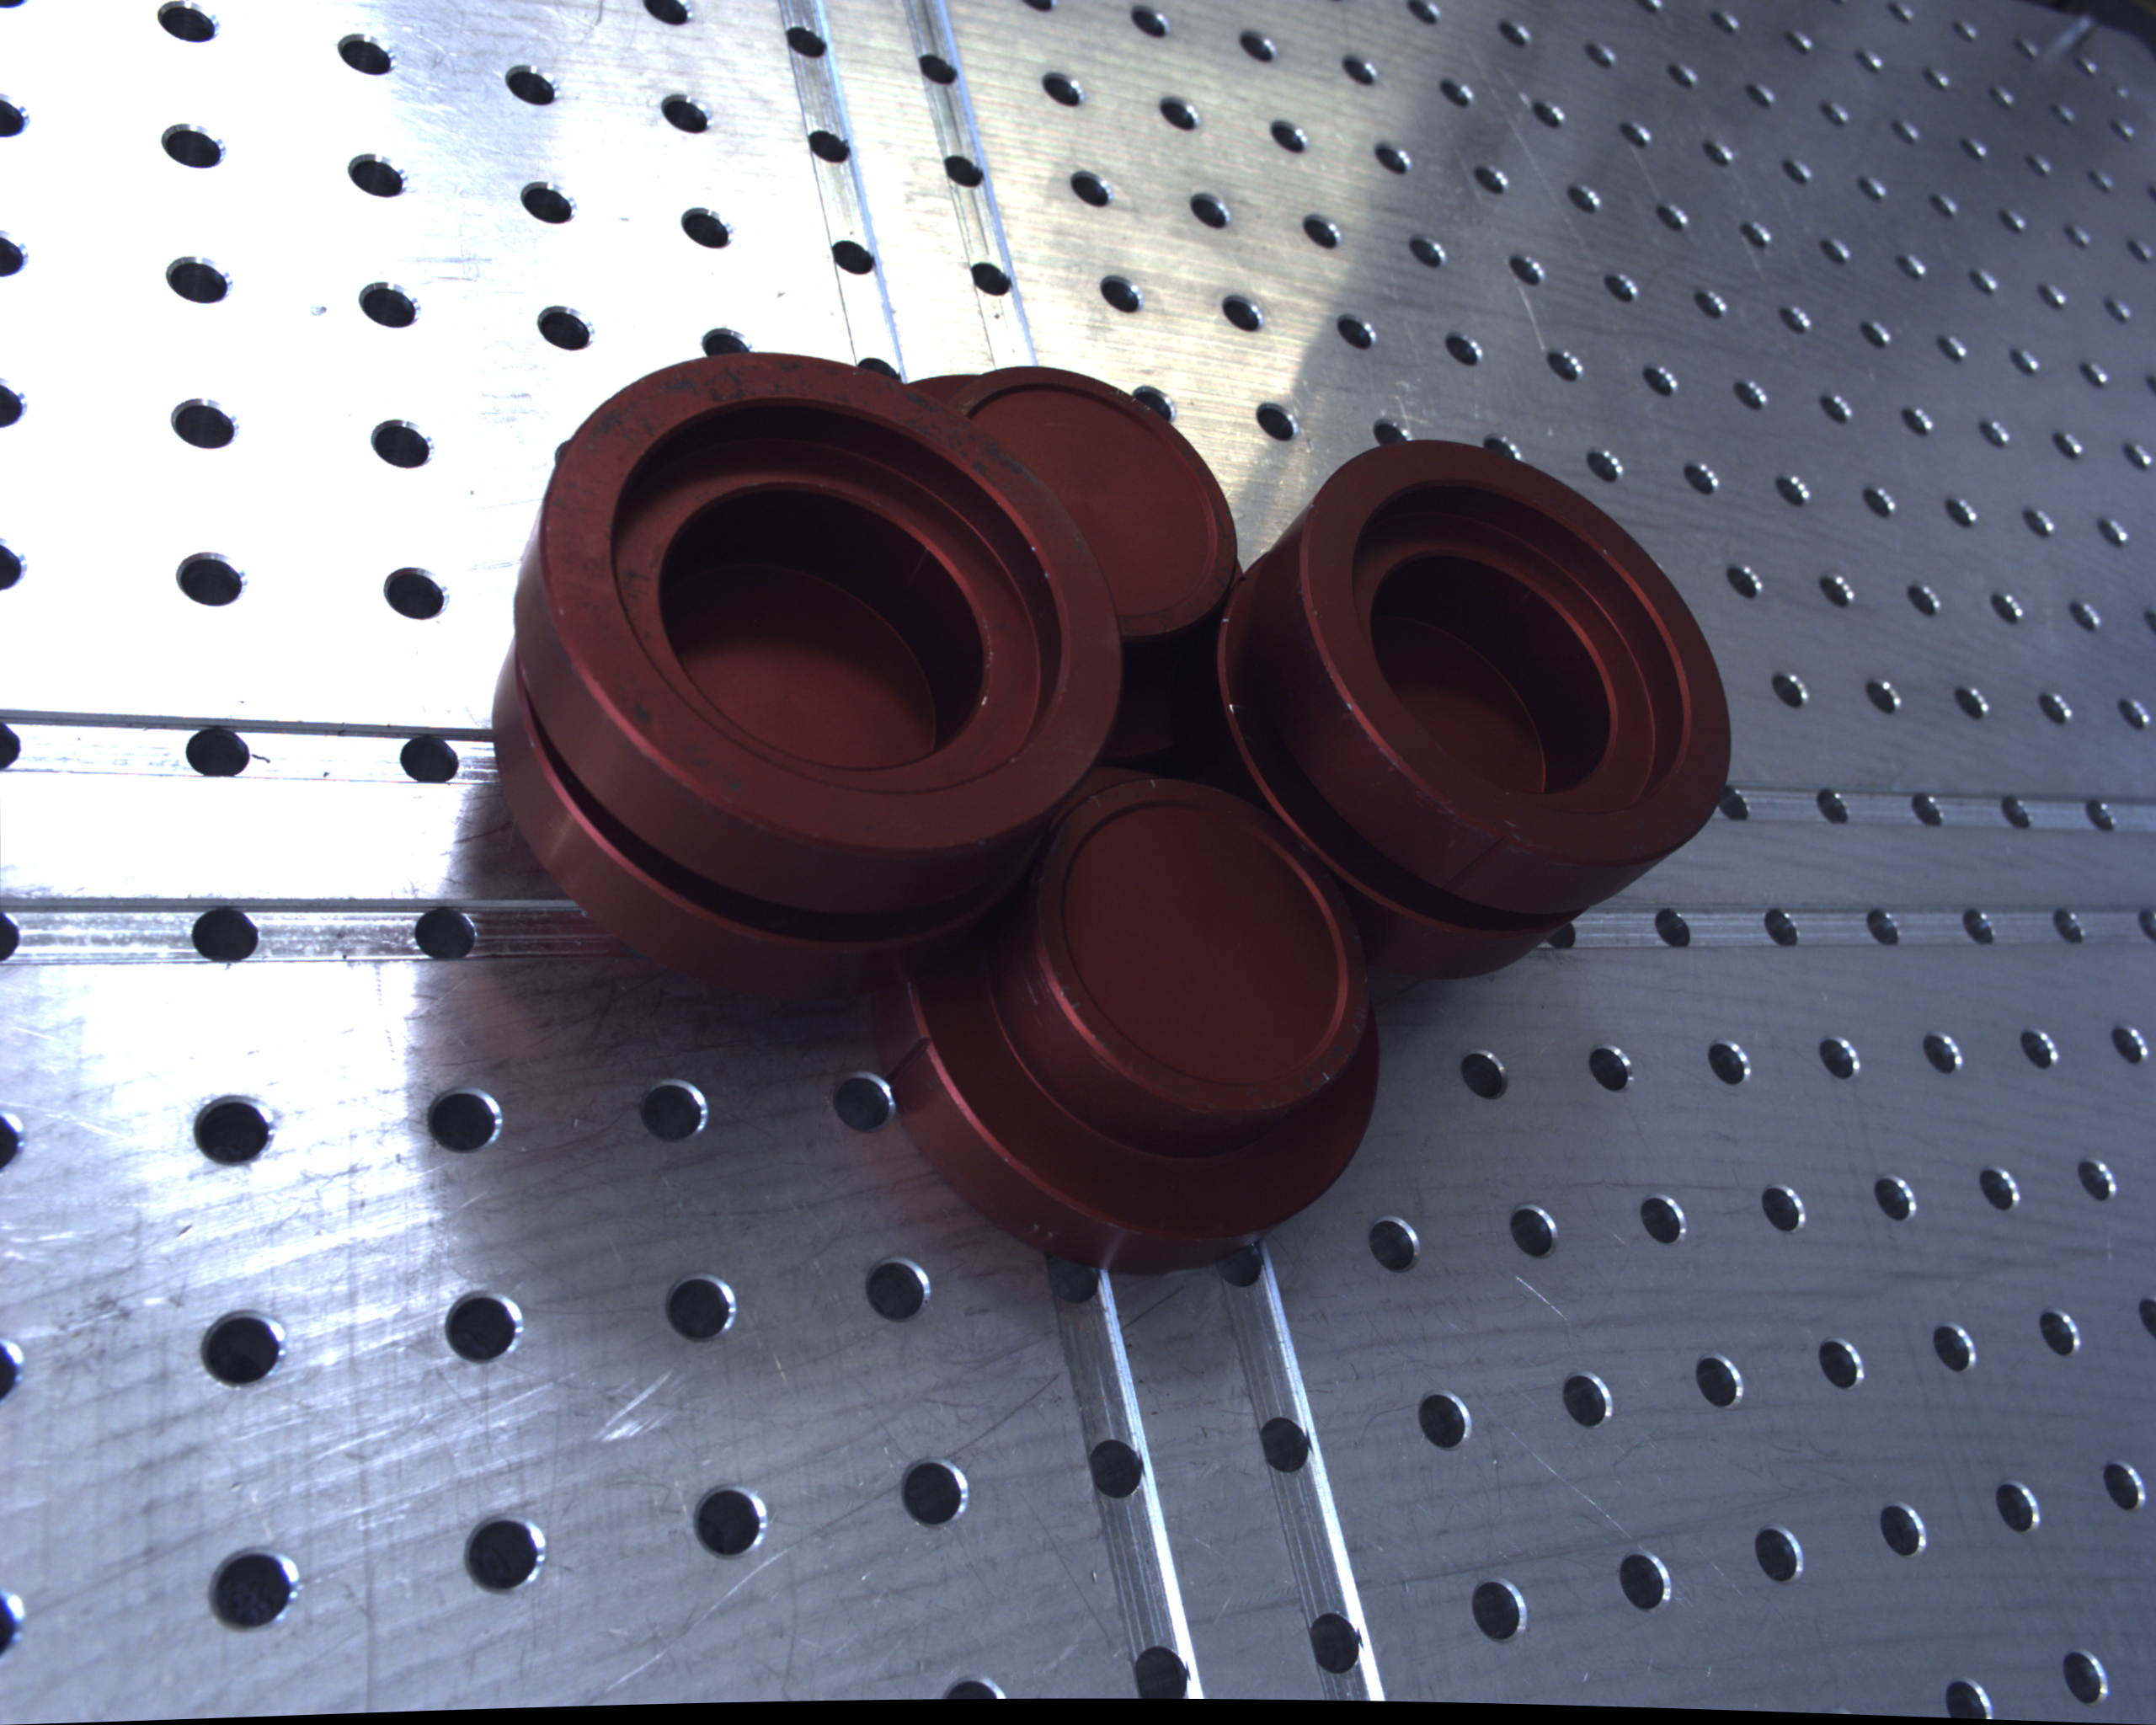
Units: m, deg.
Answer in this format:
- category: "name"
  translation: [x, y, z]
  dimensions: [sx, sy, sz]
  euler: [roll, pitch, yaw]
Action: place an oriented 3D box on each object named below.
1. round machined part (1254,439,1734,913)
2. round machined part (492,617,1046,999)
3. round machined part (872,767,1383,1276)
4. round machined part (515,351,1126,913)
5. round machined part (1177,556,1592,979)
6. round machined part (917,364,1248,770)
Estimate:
- category: "round machined part"
  translation: [0.078, -0.033, 0.417]
  dimensions: [0.099, 0.042, 0.098]
  euler: [13, 56, -21]
- category: "round machined part"
  translation: [-0.056, -0.019, 0.378]
  dimensions: [0.099, 0.042, 0.098]
  euler: [13, 56, -21]
- category: "round machined part"
  translation: [0.015, 0.024, 0.389]
  dimensions: [0.099, 0.042, 0.098]
  euler: [13, 56, -21]
- category: "round machined part"
  translation: [-0.045, -0.035, 0.352]
  dimensions: [0.099, 0.042, 0.098]
  euler: [13, 56, -21]
- category: "round machined part"
  translation: [0.064, -0.019, 0.442]
  dimensions: [0.099, 0.042, 0.098]
  euler: [13, 56, -21]
- category: "round machined part"
  translation: [-0.007, -0.063, 0.431]
  dimensions: [0.099, 0.042, 0.098]
  euler: [13, 56, -21]
